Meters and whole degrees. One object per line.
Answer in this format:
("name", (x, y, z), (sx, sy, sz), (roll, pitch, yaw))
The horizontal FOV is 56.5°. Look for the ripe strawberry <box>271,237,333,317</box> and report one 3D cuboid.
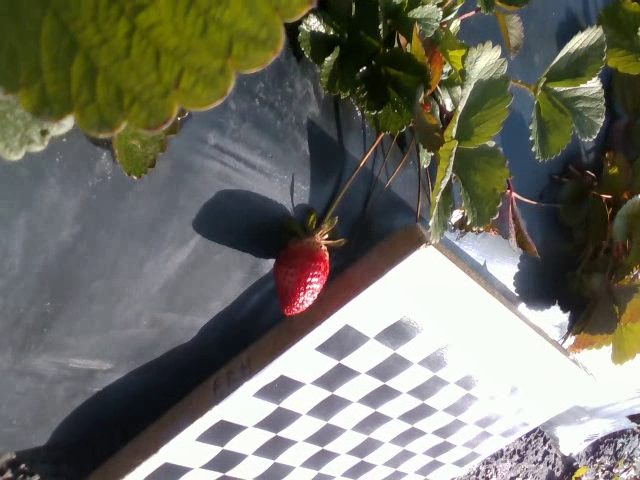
("ripe strawberry", (-0.009, 0.017, 0.250), (0.033, 0.038, 0.035), (-5, -27, 42))
